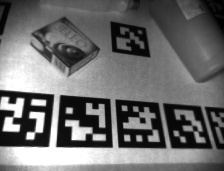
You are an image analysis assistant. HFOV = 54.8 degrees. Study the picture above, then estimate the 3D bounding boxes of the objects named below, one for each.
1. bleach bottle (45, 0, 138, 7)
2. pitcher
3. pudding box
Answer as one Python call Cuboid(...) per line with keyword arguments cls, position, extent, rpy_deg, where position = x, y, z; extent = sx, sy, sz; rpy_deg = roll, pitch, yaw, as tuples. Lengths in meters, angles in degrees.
Cuboid(cls="bleach bottle", position=(-0.042, -0.245, 0.562), extent=(0.253, 0.067, 0.102), rpy_deg=(2, 66, -20))
Cuboid(cls="pitcher", position=(0.220, -0.142, 0.577), extent=(0.191, 0.132, 0.241), rpy_deg=(-4, 64, -59))
Cuboid(cls="pudding box", position=(-0.089, -0.092, 0.471), extent=(0.113, 0.038, 0.090), rpy_deg=(44, 52, 6))
